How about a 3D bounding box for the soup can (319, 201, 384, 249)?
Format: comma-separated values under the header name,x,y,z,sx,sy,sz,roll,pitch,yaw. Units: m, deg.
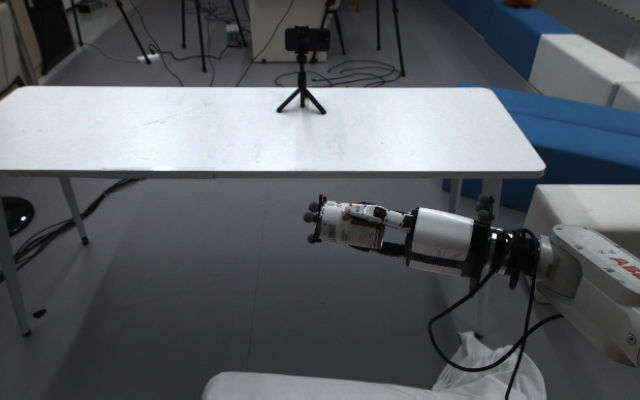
name,x,y,z,sx,sy,sz,roll,pitch,yaw
soup can,0.055,0.040,0.780,0.101,0.067,0.067,9,35,10
